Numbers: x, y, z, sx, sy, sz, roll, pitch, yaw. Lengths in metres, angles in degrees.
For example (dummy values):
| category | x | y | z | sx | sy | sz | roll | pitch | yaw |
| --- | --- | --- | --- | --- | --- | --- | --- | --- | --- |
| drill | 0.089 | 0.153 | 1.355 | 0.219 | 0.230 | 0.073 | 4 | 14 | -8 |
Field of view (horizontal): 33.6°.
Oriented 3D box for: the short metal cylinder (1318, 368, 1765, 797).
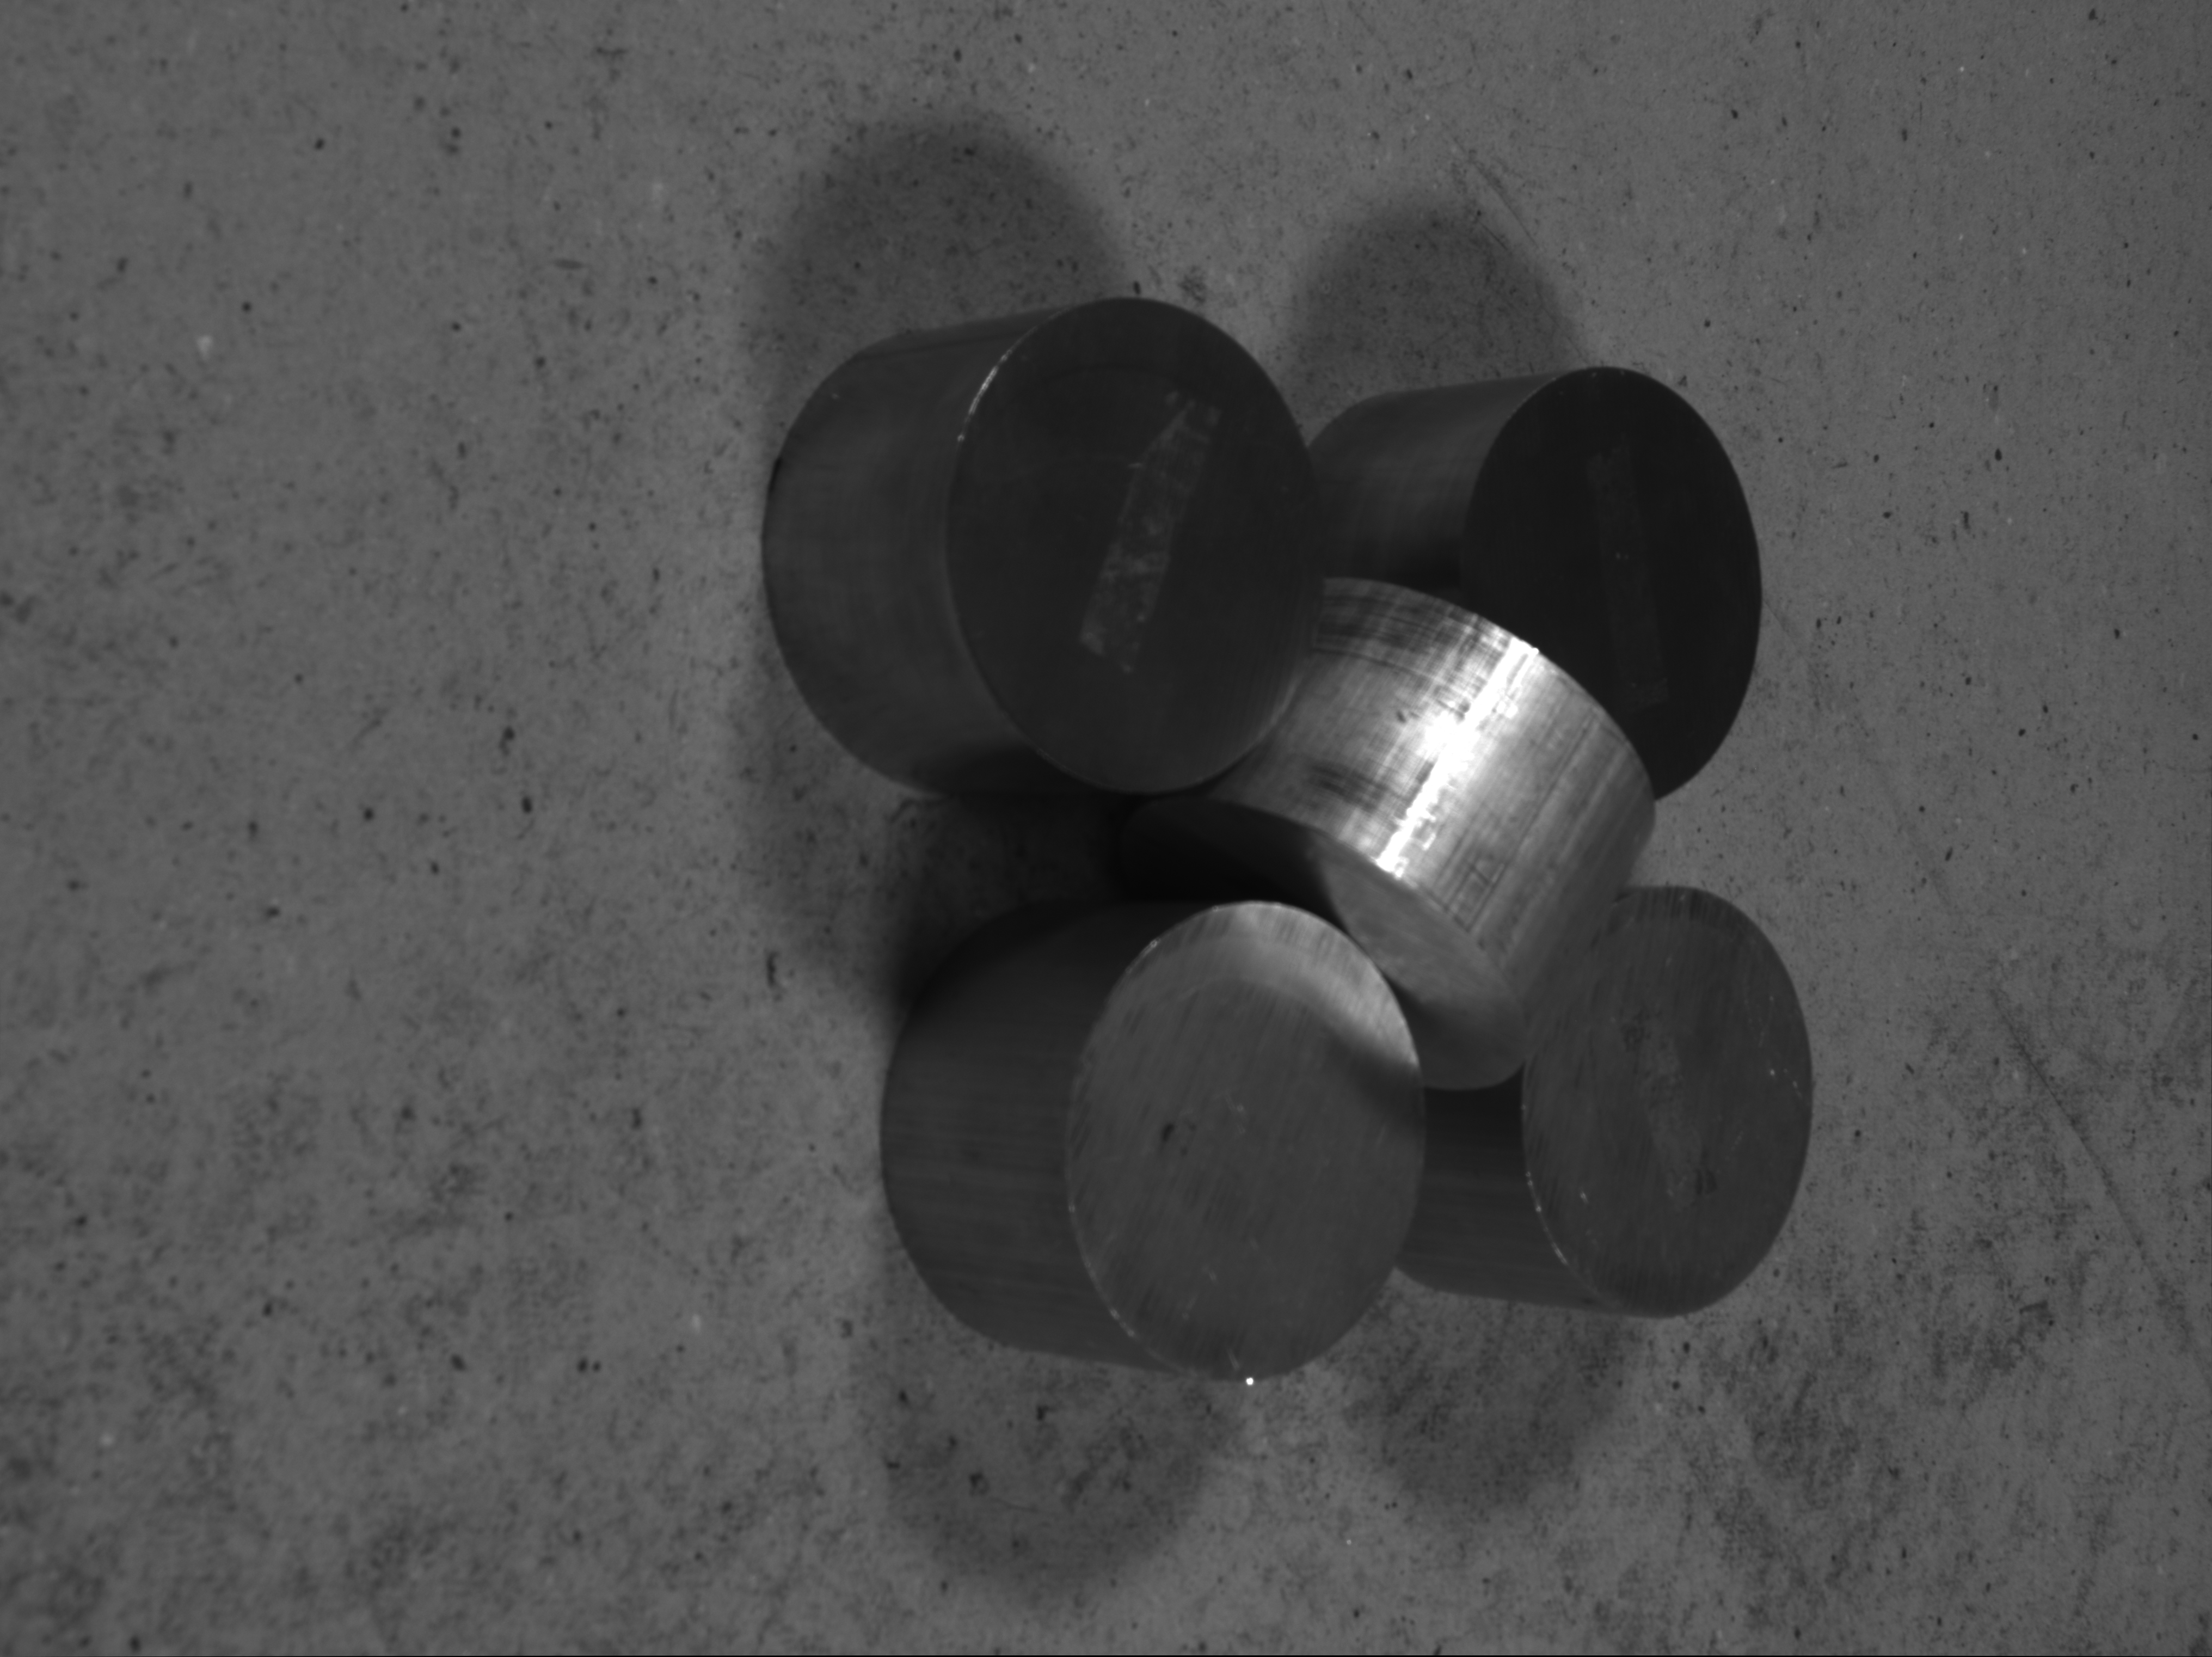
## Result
| category | x | y | z | sx | sy | sz | roll | pitch | yaw |
| --- | --- | --- | --- | --- | --- | --- | --- | --- | --- |
| short metal cylinder | 0.077 | -0.043 | 0.683 | 0.080 | 0.050 | 0.080 | 0 | 90 | -40 |

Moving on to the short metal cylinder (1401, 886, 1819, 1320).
| category | x | y | z | sx | sy | sz | roll | pitch | yaw |
| --- | --- | --- | --- | --- | --- | --- | --- | --- | --- |
| short metal cylinder | 0.090 | 0.051 | 0.694 | 0.080 | 0.050 | 0.080 | 0 | 90 | -40 |

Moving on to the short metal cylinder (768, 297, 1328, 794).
| category | x | y | z | sx | sy | sz | roll | pitch | yaw |
| --- | --- | --- | --- | --- | --- | --- | --- | --- | --- |
| short metal cylinder | -0.009 | -0.046 | 0.612 | 0.080 | 0.050 | 0.080 | 0 | 90 | -40 |

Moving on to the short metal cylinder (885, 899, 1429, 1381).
| category | x | y | z | sx | sy | sz | roll | pitch | yaw |
| --- | --- | --- | --- | --- | --- | --- | --- | --- | --- |
| short metal cylinder | 0.009 | 0.052 | 0.627 | 0.080 | 0.050 | 0.080 | 0 | 90 | -40 |

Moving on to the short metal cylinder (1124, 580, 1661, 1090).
| category | x | y | z | sx | sy | sz | roll | pitch | yaw |
| --- | --- | --- | --- | --- | --- | --- | --- | --- | --- |
| short metal cylinder | 0.050 | 0.002 | 0.644 | 0.080 | 0.080 | 0.050 | 47 | 62 | -29 |
